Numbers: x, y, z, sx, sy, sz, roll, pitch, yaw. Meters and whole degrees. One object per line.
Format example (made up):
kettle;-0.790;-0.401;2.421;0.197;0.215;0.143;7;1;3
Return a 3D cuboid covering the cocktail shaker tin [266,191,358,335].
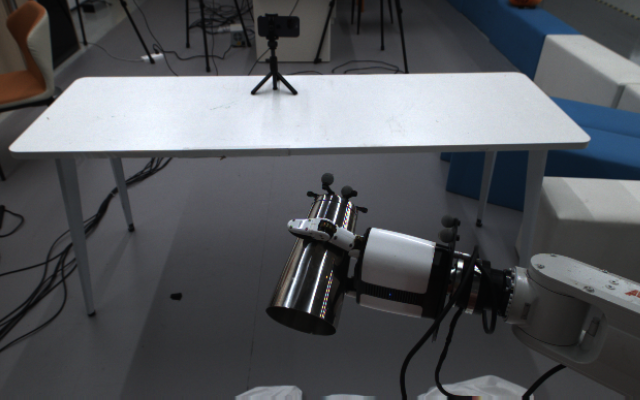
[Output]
cocktail shaker tin;0.002;0.080;0.635;0.093;0.093;0.170;10;59;11
